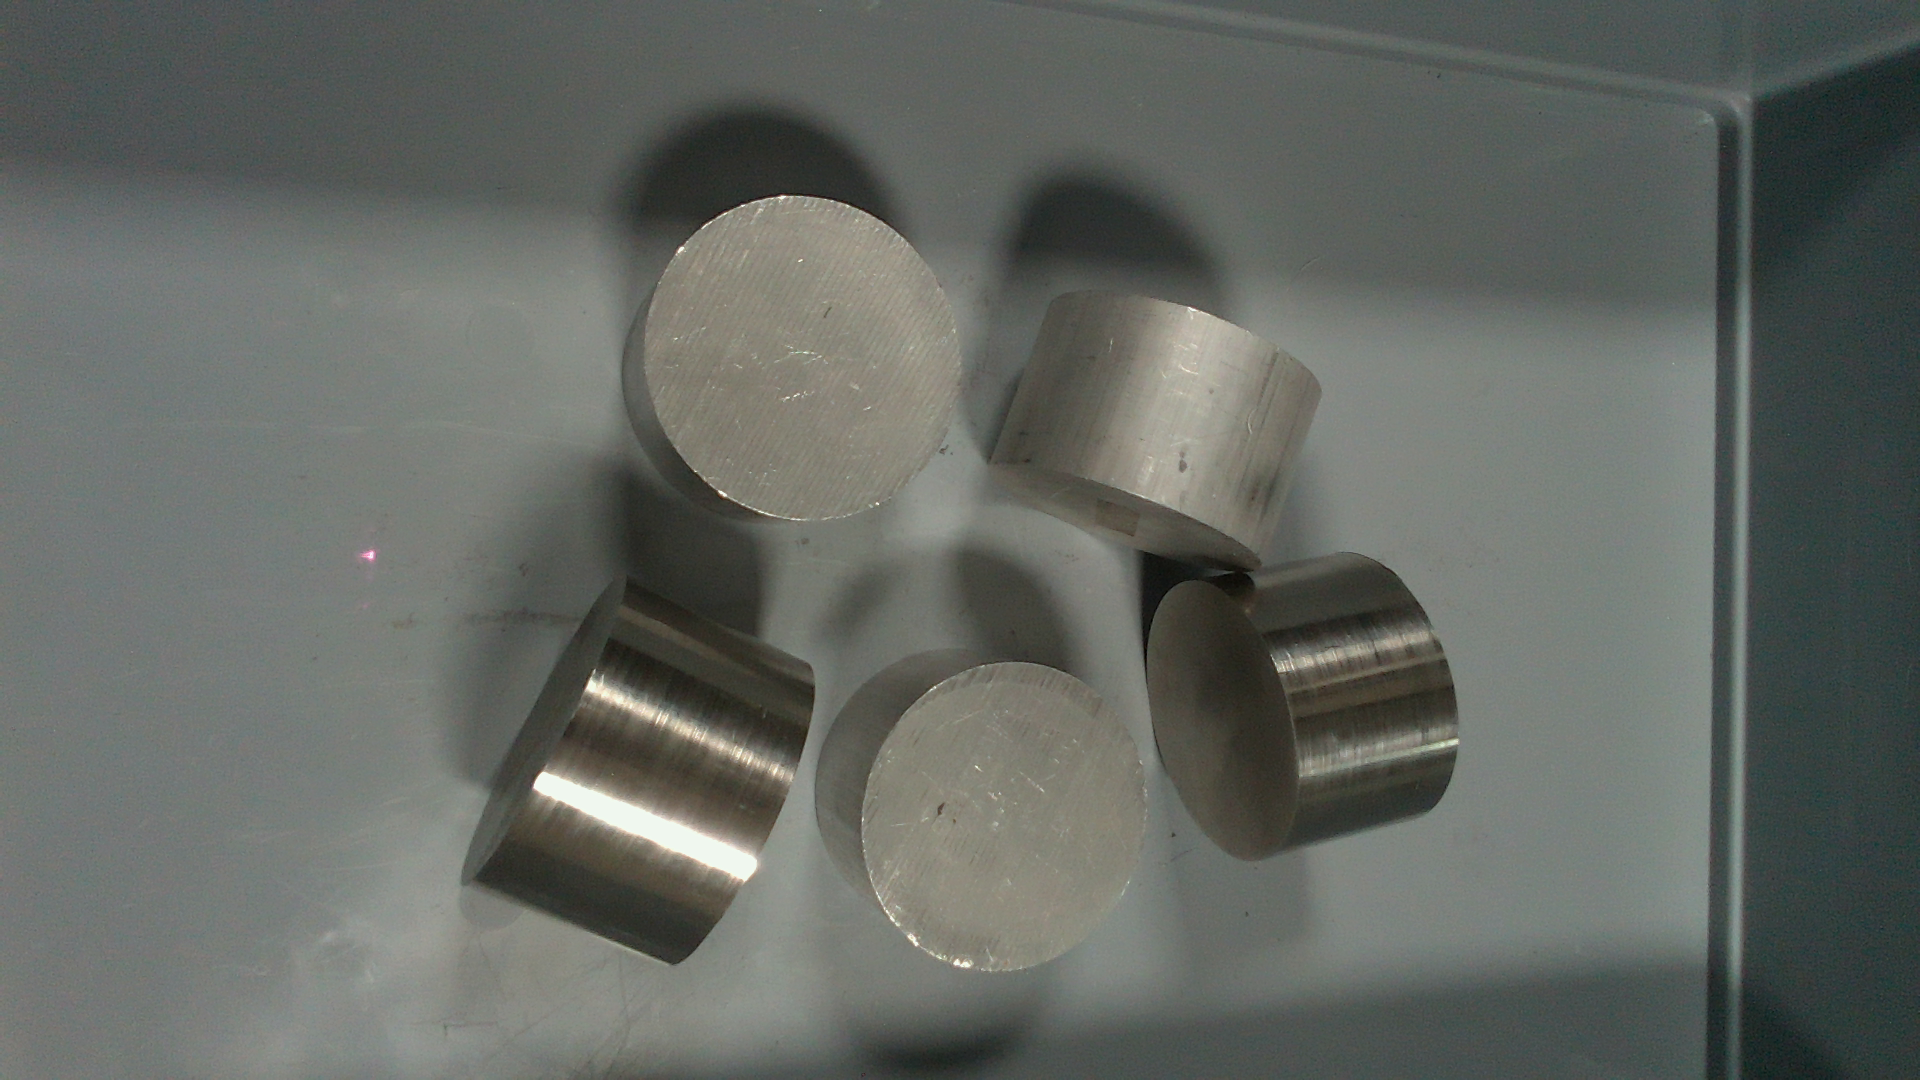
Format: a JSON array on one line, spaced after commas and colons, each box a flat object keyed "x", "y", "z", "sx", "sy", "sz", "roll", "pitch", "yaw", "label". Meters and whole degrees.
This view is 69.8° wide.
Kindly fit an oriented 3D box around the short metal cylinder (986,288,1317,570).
[{"x": 0.053, "y": -0.029, "z": 0.384, "sx": 0.080, "sy": 0.080, "sz": 0.050, "roll": 23, "pitch": 83, "yaw": -18, "label": "short metal cylinder"}]

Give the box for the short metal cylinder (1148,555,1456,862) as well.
[{"x": 0.096, "y": 0.047, "z": 0.398, "sx": 0.050, "sy": 0.080, "sz": 0.080, "roll": -10, "pitch": 93, "yaw": -19, "label": "short metal cylinder"}]

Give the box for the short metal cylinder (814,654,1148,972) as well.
[{"x": 0.005, "y": 0.072, "z": 0.381, "sx": 0.080, "sy": 0.050, "sz": 0.080, "roll": 0, "pitch": 90, "yaw": -20, "label": "short metal cylinder"}]

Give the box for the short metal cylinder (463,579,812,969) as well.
[{"x": -0.078, "y": 0.056, "z": 0.334, "sx": 0.050, "sy": 0.080, "sz": 0.080, "roll": 28, "pitch": 81, "yaw": -18, "label": "short metal cylinder"}]

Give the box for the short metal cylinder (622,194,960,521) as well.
[{"x": -0.046, "y": -0.045, "z": 0.362, "sx": 0.080, "sy": 0.050, "sz": 0.080, "roll": 0, "pitch": 90, "yaw": -20, "label": "short metal cylinder"}]
